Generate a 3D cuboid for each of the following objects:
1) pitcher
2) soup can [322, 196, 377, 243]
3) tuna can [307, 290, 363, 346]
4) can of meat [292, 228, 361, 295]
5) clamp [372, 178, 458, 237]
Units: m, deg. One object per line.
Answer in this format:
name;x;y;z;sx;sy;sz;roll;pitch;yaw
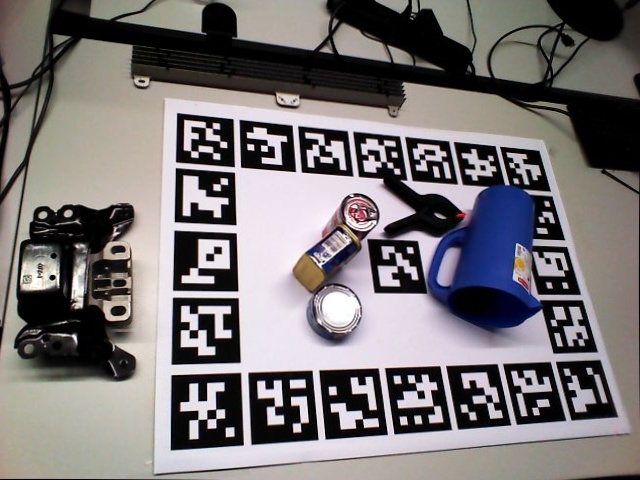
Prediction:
pitcher;0.315;0.027;0.906;0.189;0.134;0.241;11;55;12
soup can;0.047;-0.023;0.870;0.068;0.102;0.067;5;68;-12
tuna can;0.023;0.127;0.835;0.085;0.034;0.085;6;68;-14
can of meat;0.009;0.037;0.828;0.083;0.102;0.058;-36;82;-23
clamp;0.181;-0.055;0.971;0.165;0.037;0.121;5;62;-18
